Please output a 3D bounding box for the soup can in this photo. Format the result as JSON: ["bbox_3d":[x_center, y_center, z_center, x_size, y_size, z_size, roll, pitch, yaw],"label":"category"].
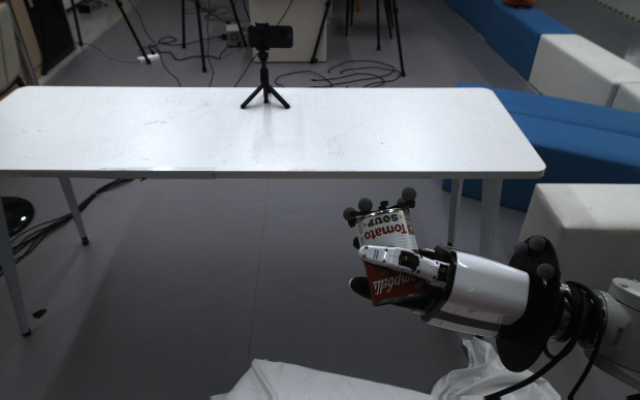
[{"bbox_3d":[0.086,0.067,0.569,0.067,0.067,0.101,-8,74,-14],"label":"soup can"}]
